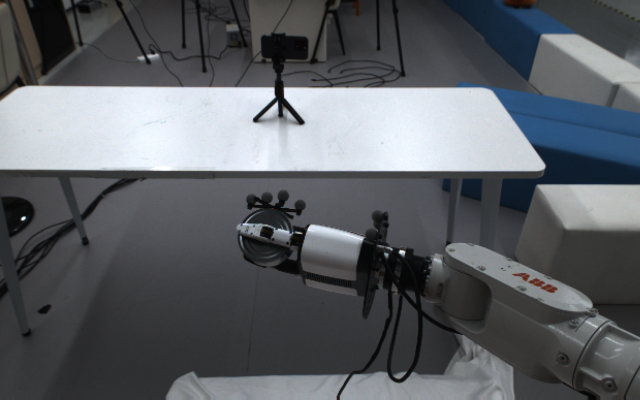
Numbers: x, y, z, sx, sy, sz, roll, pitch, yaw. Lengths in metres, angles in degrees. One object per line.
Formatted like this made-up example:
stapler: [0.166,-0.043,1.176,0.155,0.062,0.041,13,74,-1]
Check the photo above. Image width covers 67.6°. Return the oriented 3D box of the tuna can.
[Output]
tuna can: [-0.080,0.057,0.740,0.085,0.034,0.085,-3,69,8]
